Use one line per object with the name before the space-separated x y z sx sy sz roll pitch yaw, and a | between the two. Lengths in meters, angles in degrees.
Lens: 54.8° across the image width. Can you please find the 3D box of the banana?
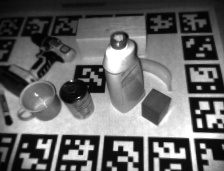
banana | 0.070 -0.077 0.649 0.196 0.039 0.074 15 77 11

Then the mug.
mug | -0.206 0.036 0.589 0.117 0.082 0.092 -43 67 -14

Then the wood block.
wood block | -0.007 -0.164 0.680 0.206 0.091 0.089 -1 61 5

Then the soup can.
soup can | -0.099 0.023 0.568 0.068 0.103 0.067 -2 56 4

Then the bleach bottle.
bleach bottle | 0.019 -0.038 0.512 0.067 0.252 0.103 26 66 21

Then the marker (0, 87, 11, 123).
marker | -0.317 0.056 0.628 0.020 0.020 0.120 -27 63 -7

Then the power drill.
power drill | -0.243 -0.082 0.680 0.183 0.057 0.187 28 66 16

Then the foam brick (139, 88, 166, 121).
foam brick | 0.104 0.045 0.559 0.052 0.078 0.051 30 66 24
